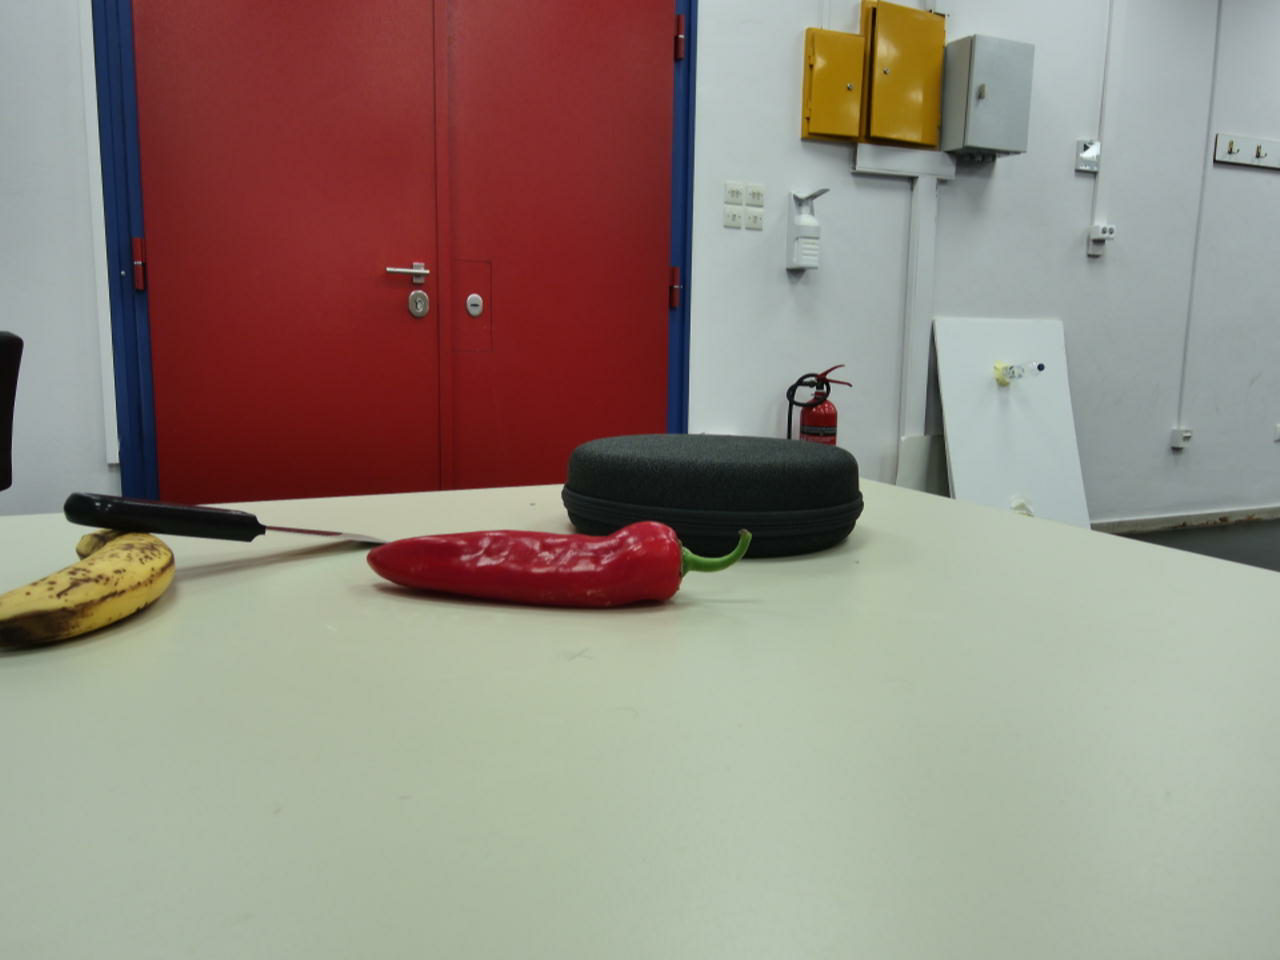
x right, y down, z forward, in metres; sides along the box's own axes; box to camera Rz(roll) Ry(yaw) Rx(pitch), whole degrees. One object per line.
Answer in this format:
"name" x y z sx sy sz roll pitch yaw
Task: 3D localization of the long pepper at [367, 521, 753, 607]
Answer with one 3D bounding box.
"long pepper" -0.047 0.043 0.533 0.211 0.043 0.050 0 7 7
